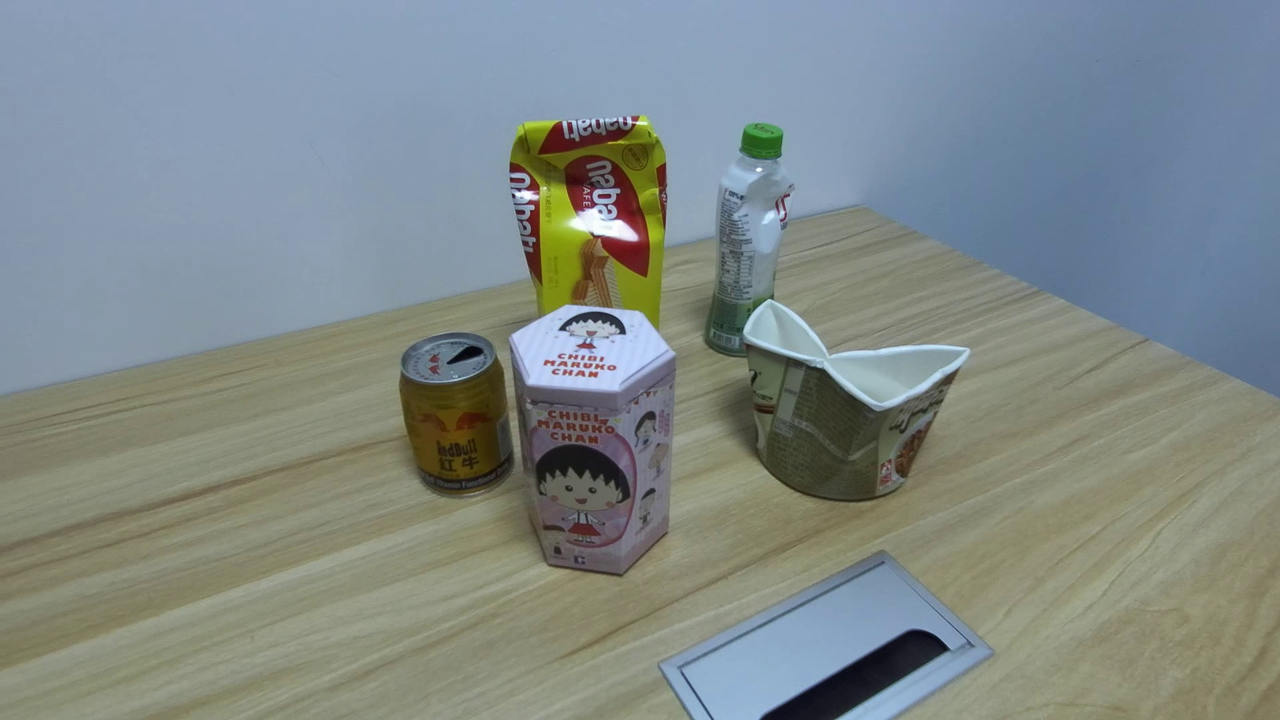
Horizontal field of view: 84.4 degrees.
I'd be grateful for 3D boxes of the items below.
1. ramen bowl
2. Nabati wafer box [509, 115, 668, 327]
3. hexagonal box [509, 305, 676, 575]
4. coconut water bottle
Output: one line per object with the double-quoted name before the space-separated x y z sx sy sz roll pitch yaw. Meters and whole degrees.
"ramen bowl" 0.133 0.023 0.488 0.112 0.093 0.127 -28 43 -35
"Nabati wafer box" -0.034 -0.077 0.538 0.113 0.205 0.042 -7 32 -9
"hexagonal box" -0.026 0.048 0.410 0.091 0.136 0.084 5 33 7
"coconut water bottle" 0.090 -0.096 0.580 0.069 0.187 0.069 2 32 -1
